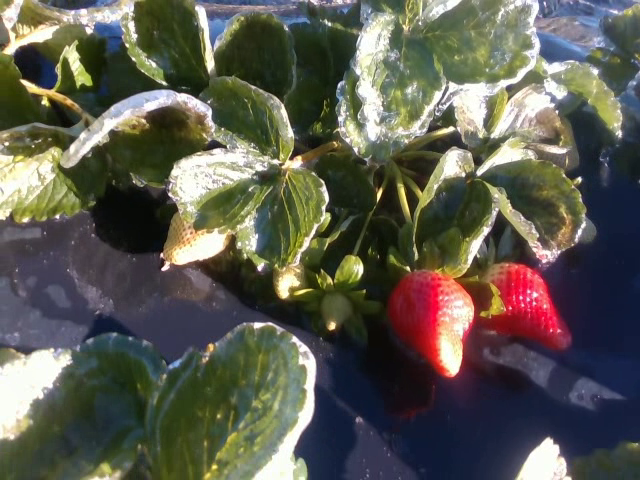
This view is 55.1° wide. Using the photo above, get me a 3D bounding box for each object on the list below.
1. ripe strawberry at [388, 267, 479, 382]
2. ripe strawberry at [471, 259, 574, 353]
[{"bbox_3d":[0.068,0.047,0.329,0.052,0.070,0.040,15,-33,-24],"label":"ripe strawberry"},{"bbox_3d":[0.119,0.035,0.343,0.043,0.059,0.040,-38,-8,-30],"label":"ripe strawberry"}]
